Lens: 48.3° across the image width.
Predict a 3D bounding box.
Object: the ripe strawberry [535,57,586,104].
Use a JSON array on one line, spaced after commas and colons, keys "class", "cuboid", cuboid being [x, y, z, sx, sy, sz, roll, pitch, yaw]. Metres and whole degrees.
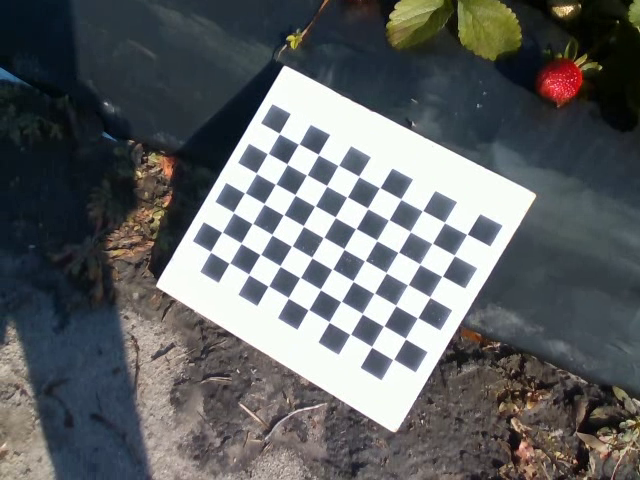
[{"class": "ripe strawberry", "cuboid": [0.203, -0.139, 0.618, 0.050, 0.043, 0.043, -18, -10, -42]}]
